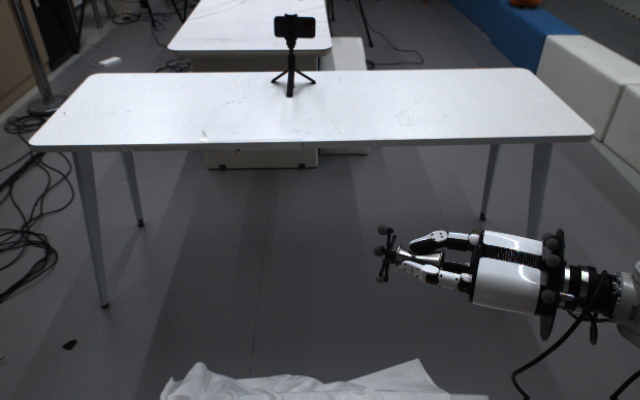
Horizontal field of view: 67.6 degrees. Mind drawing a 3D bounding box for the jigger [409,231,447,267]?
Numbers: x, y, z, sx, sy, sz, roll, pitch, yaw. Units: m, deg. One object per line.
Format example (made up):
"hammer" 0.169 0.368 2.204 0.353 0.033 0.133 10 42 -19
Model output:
"jigger" 0.161 0.090 0.749 0.071 0.043 0.043 7 34 21
